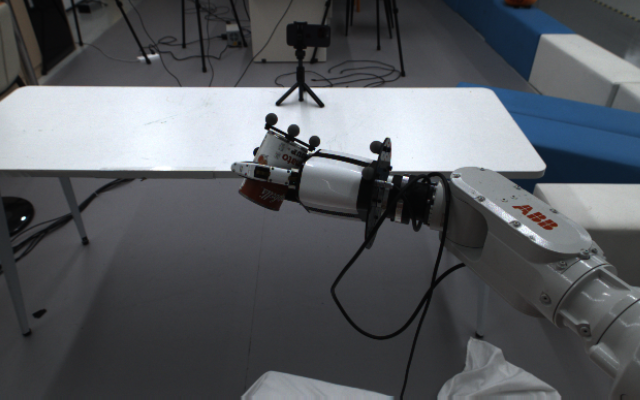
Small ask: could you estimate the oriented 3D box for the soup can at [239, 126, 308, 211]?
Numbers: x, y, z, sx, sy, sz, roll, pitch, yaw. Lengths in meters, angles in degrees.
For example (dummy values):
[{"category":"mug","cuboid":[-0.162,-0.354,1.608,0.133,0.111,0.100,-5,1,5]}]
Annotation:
[{"category":"soup can","cuboid":[-0.069,-0.043,0.711,0.067,0.101,0.067,26,6,-3]}]
